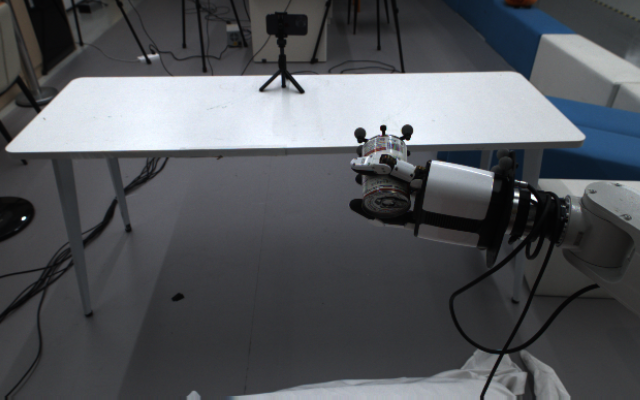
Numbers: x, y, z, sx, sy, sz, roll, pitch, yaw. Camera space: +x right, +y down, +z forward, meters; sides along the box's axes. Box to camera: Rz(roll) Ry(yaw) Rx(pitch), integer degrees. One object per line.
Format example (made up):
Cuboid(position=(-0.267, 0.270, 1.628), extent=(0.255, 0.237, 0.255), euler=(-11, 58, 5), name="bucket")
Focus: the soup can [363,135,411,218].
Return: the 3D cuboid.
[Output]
Cuboid(position=(0.094, -0.035, 0.688), extent=(0.067, 0.067, 0.101), euler=(3, 57, 1), name="soup can")
